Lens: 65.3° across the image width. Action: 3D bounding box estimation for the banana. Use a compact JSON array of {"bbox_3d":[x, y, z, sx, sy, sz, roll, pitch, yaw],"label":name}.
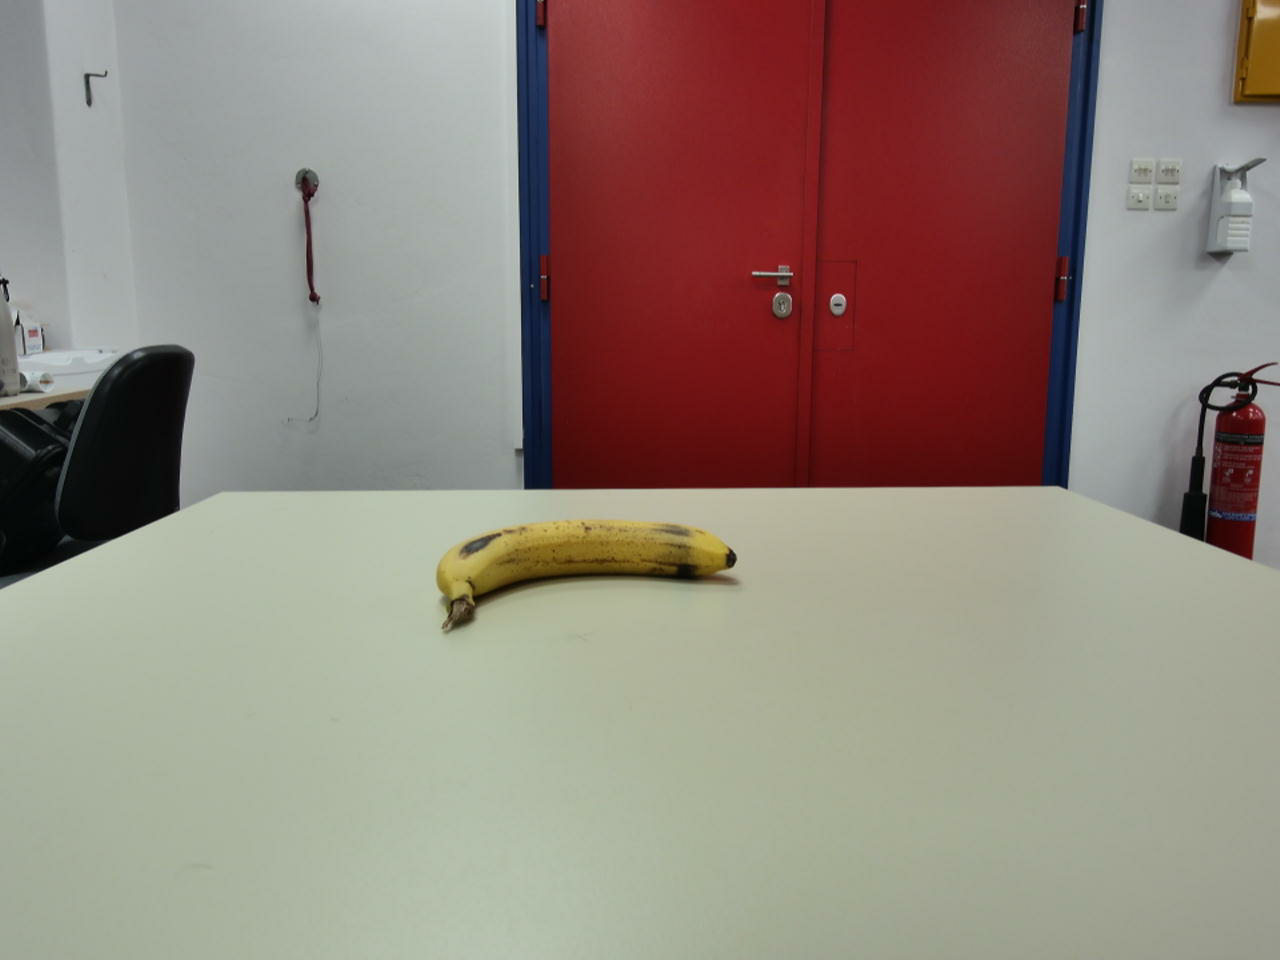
[{"bbox_3d":[-0.041,0.049,0.609,0.186,0.038,0.097,-5,9,-28],"label":"banana"}]
